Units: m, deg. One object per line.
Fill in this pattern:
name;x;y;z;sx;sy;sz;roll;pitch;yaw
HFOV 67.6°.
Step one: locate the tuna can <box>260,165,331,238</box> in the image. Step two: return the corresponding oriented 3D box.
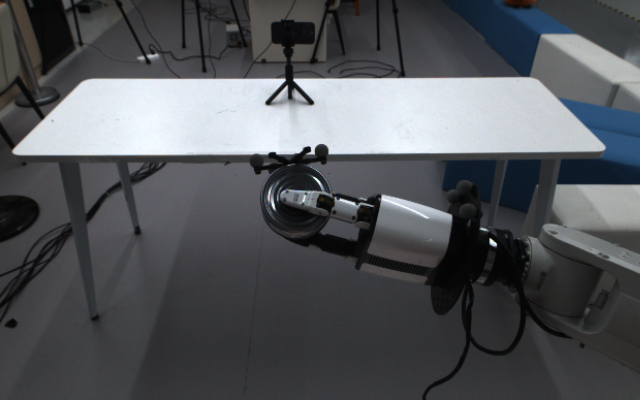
tuna can;-0.023;0.007;0.568;0.085;0.034;0.085;0;72;-1
